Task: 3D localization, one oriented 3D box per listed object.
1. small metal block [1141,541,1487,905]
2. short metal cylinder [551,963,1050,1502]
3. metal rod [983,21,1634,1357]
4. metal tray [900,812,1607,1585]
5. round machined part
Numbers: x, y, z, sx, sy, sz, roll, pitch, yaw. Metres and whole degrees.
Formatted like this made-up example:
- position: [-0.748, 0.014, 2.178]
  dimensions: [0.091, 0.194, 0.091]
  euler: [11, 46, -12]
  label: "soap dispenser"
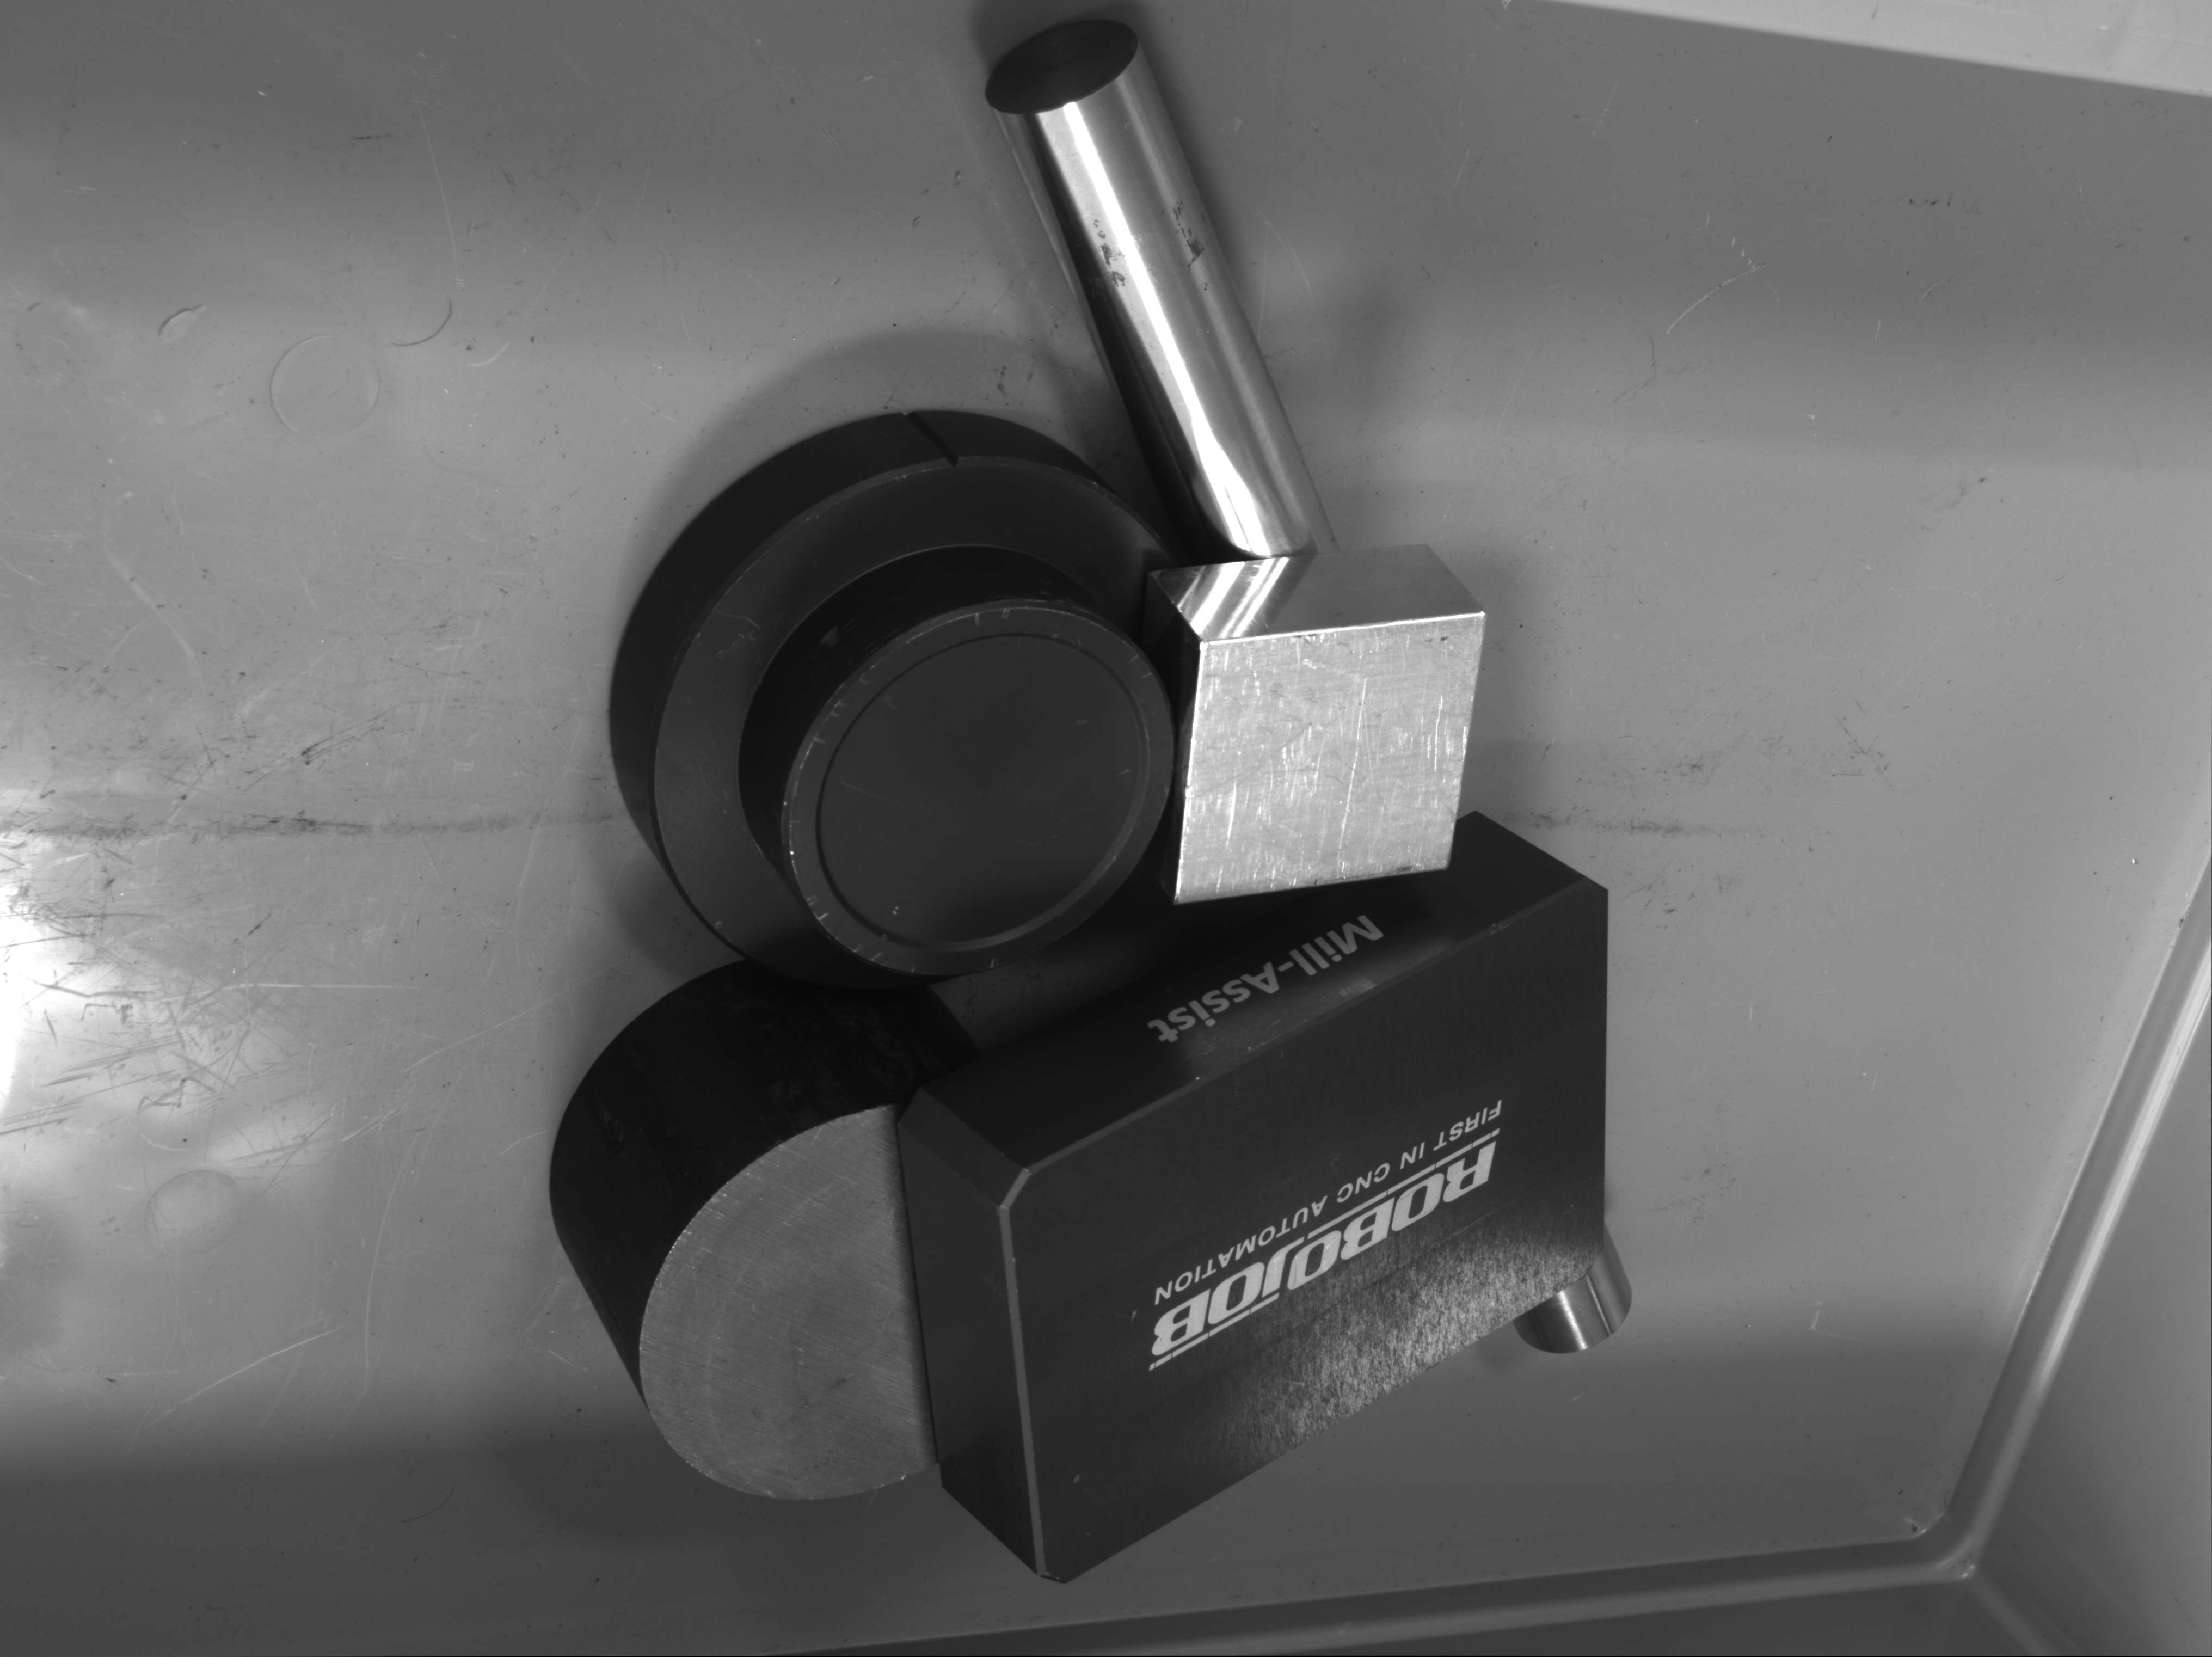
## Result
- position: [0.032, -0.018, 0.613]
  dimensions: [0.050, 0.025, 0.050]
  euler: [-7, 124, -19]
  label: "small metal block"
- position: [-0.050, 0.069, 0.635]
  dimensions: [0.080, 0.050, 0.080]
  euler: [-13, 124, -21]
  label: "short metal cylinder"
- position: [0.044, -0.009, 0.654]
  dimensions: [0.025, 0.025, 0.301]
  euler: [-32, 128, -8]
  label: "metal rod"
- position: [0.029, 0.063, 0.638]
  dimensions: [0.130, 0.030, 0.090]
  euler: [-25, 129, -29]
  label: "metal tray"
- position: [-0.028, -0.015, 0.600]
  dimensions: [0.098, 0.042, 0.098]
  euler: [-13, 123, -20]
  label: "round machined part"
